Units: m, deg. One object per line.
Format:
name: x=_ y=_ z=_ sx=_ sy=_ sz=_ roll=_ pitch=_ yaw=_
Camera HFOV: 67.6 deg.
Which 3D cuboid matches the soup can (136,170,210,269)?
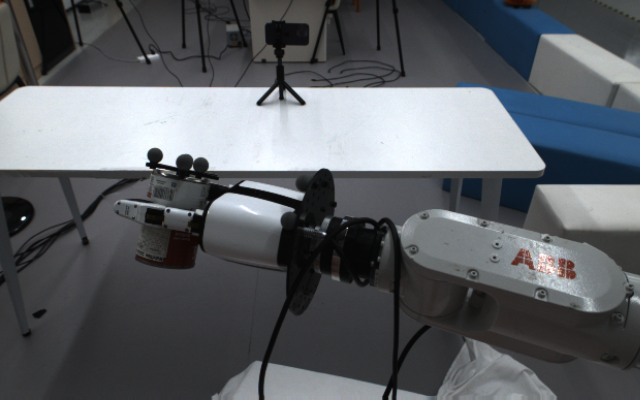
soup can: x=-0.165 y=0.022 z=0.551 sx=0.067 sy=0.101 sz=0.067 roll=11 pitch=2 yaw=0
